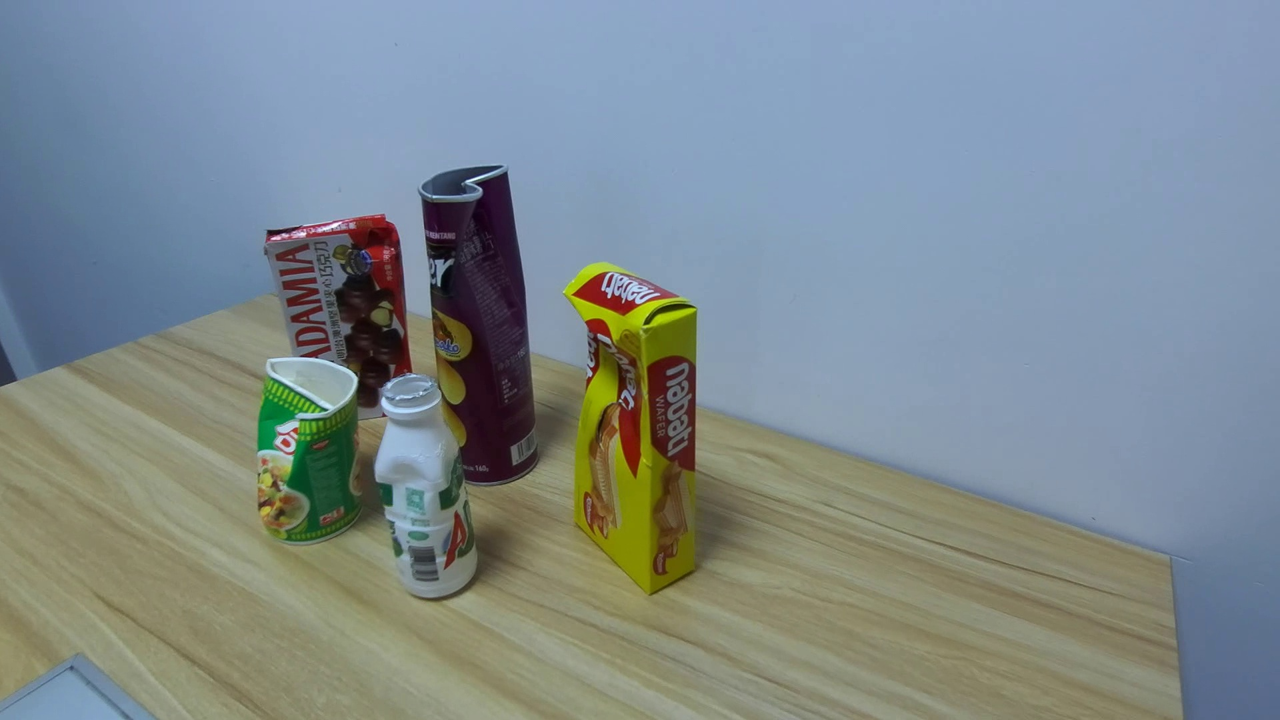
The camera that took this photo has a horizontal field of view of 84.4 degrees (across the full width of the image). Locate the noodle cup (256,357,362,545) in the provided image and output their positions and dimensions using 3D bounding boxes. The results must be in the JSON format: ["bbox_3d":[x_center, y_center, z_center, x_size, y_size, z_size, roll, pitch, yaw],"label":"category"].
[{"bbox_3d":[-0.238,0.067,0.501,0.075,0.122,0.082,5,19,-10],"label":"noodle cup"}]

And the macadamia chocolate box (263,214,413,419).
[{"bbox_3d":[-0.249,-0.032,0.607,0.103,0.187,0.027,-8,35,-16],"label":"macadamia chocolate box"}]

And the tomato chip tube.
[{"bbox_3d":[-0.120,-0.021,0.543,0.078,0.235,0.076,-12,30,-23],"label":"tomato chip tube"}]

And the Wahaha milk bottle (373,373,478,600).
[{"bbox_3d":[-0.136,0.079,0.445,0.055,0.149,0.055,-1,29,1],"label":"Wahaha milk bottle"}]

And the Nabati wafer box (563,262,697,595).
[{"bbox_3d":[-0.008,0.042,0.458,0.042,0.204,0.106,-20,34,-31],"label":"Nabati wafer box"}]
